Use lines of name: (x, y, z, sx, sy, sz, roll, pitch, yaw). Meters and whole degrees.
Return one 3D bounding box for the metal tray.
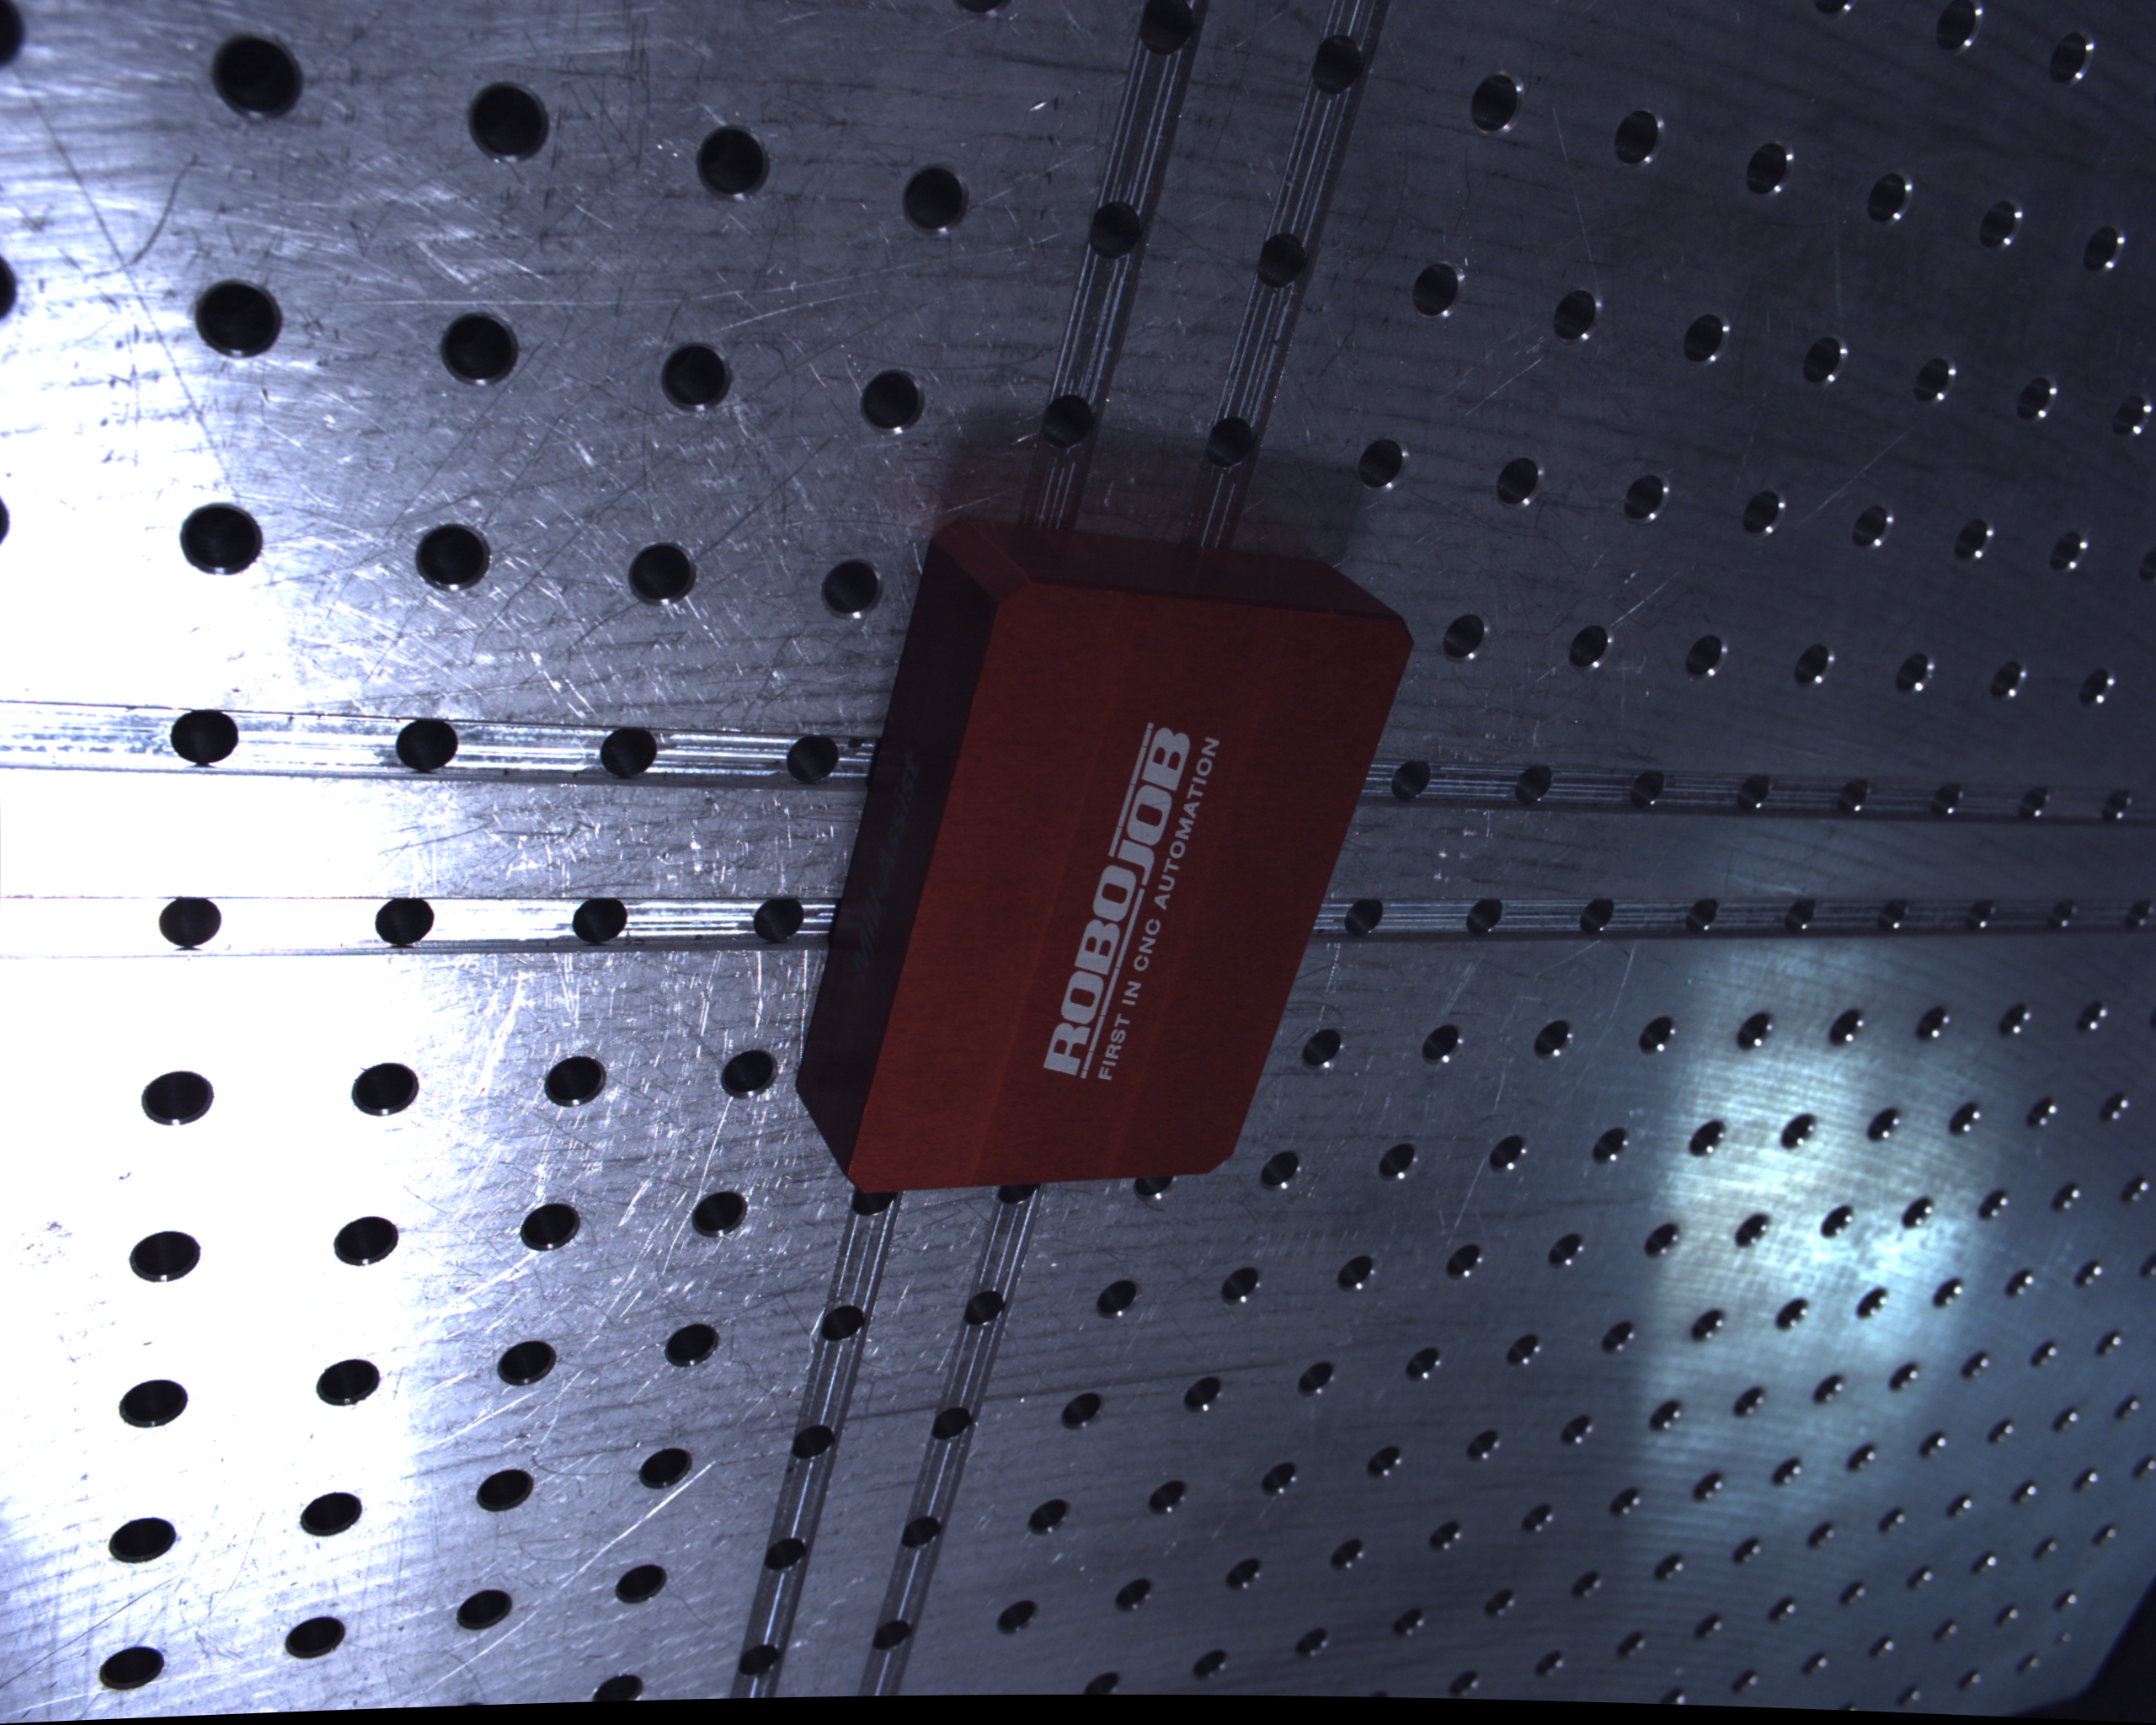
metal tray: (0.003, 0.002, 0.412, 0.091, 0.030, 0.129, 2, 118, -30)
